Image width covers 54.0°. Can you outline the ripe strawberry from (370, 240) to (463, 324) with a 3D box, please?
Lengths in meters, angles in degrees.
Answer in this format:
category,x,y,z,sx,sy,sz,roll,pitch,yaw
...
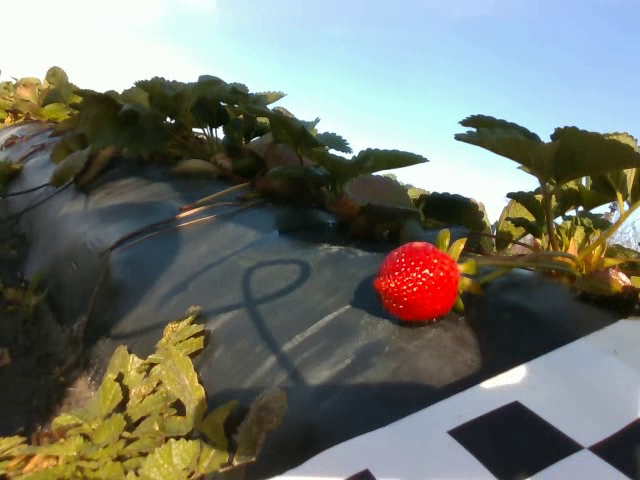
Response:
category,x,y,z,sx,sy,sz,roll,pitch,yaw
ripe strawberry,0.036,0.016,0.250,0.040,0.037,0.044,15,20,43
